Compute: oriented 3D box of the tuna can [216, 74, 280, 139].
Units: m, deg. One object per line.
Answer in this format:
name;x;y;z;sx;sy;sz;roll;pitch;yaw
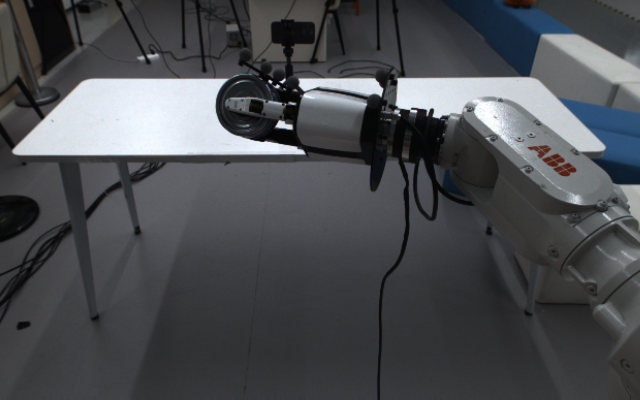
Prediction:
tuna can;-0.095;-0.122;0.660;0.085;0.085;0.034;12;4;14
